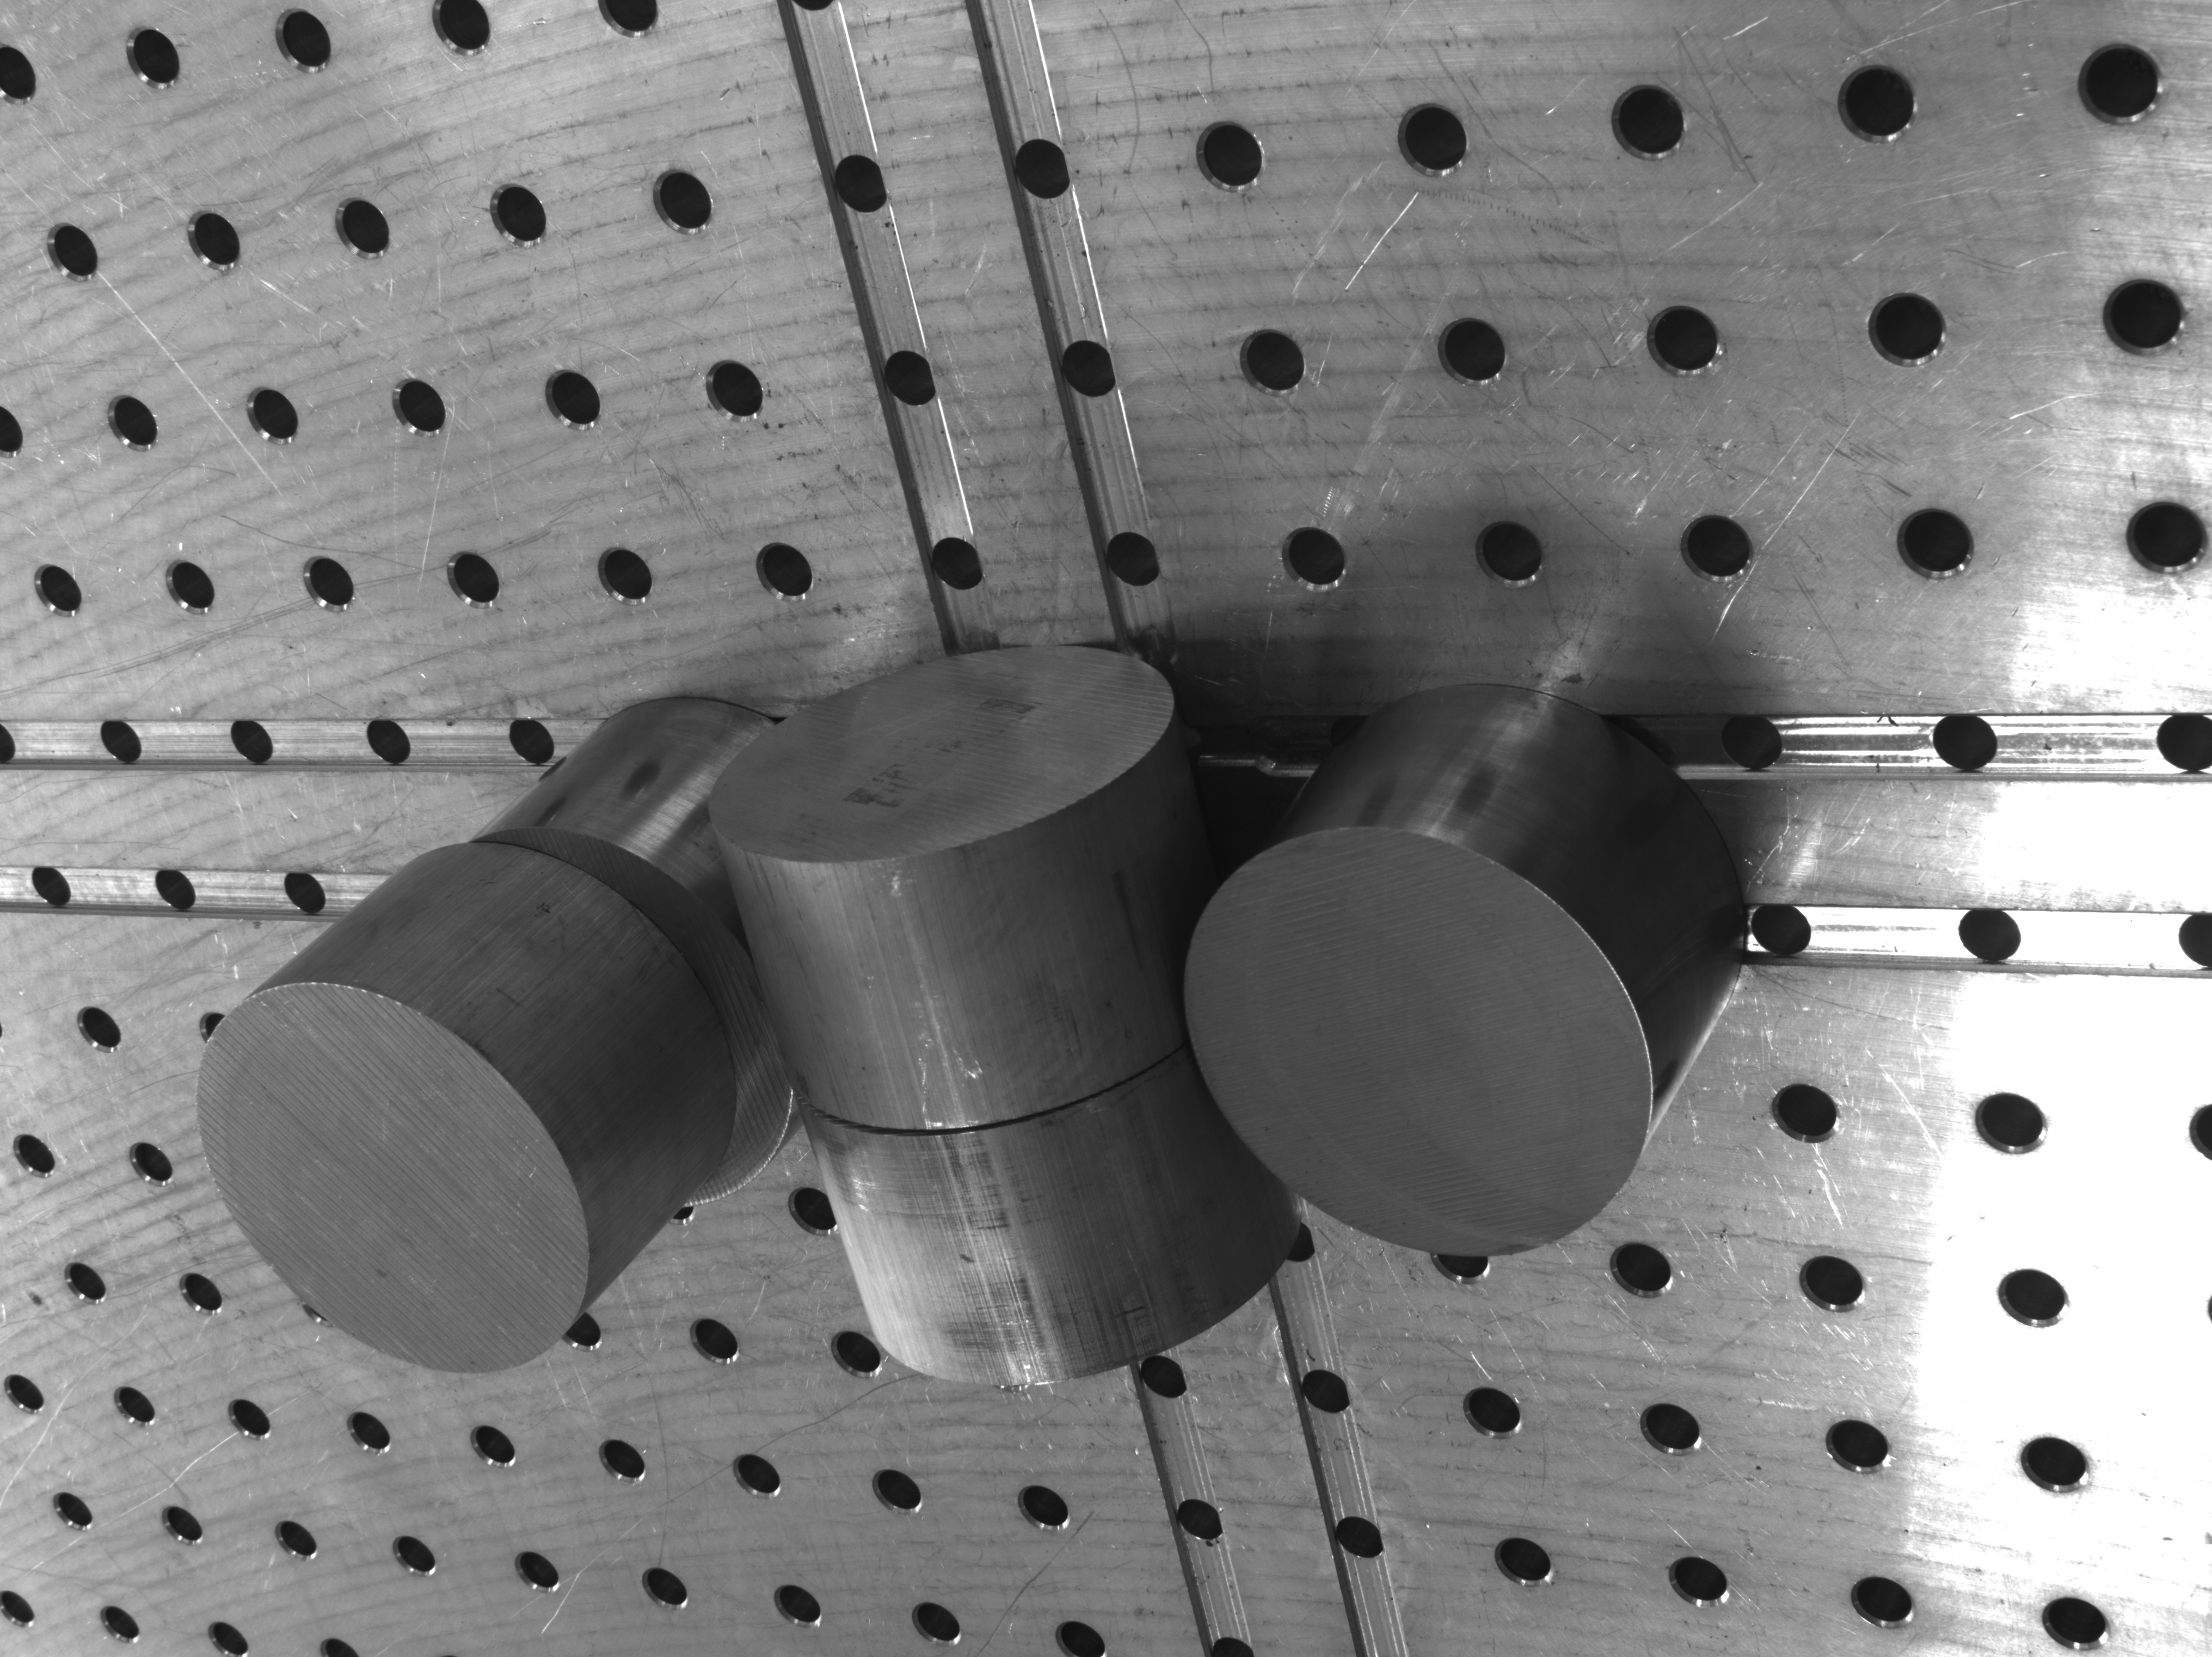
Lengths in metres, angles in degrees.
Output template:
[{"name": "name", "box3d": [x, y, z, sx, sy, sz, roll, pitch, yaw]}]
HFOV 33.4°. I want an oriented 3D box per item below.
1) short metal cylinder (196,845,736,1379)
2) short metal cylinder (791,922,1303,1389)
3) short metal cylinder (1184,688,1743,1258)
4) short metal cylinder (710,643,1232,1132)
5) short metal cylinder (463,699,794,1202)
[{"name": "short metal cylinder", "box3d": [-0.113, 0.050, 0.654, 0.080, 0.050, 0.080, 13, 124, 21]}, {"name": "short metal cylinder", "box3d": [-0.010, 0.054, 0.648, 0.080, 0.080, 0.050, -1, 118, 29]}, {"name": "short metal cylinder", "box3d": [0.060, 0.024, 0.611, 0.080, 0.050, 0.080, 13, 124, 21]}, {"name": "short metal cylinder", "box3d": [-0.022, 0.009, 0.627, 0.080, 0.080, 0.050, 1, 119, 28]}, {"name": "short metal cylinder", "box3d": [-0.081, 0.023, 0.687, 0.080, 0.050, 0.080, 13, 124, 21]}]
